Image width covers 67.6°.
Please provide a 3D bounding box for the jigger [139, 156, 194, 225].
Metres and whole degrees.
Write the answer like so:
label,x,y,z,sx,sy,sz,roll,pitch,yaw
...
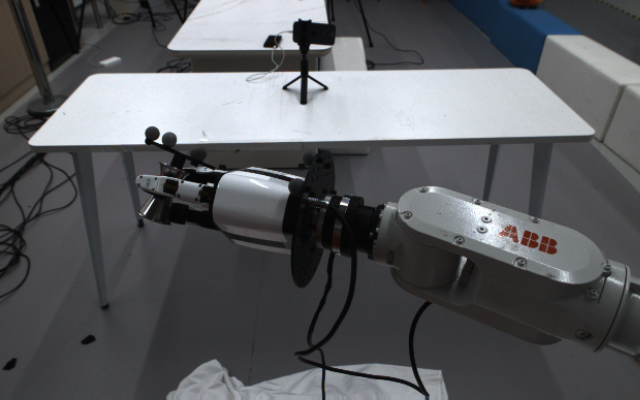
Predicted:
label,x,y,z,sx,sy,sz,roll,pitch,yaw
jigger,-0.190,-0.009,0.587,0.043,0.071,0.043,24,-2,1
